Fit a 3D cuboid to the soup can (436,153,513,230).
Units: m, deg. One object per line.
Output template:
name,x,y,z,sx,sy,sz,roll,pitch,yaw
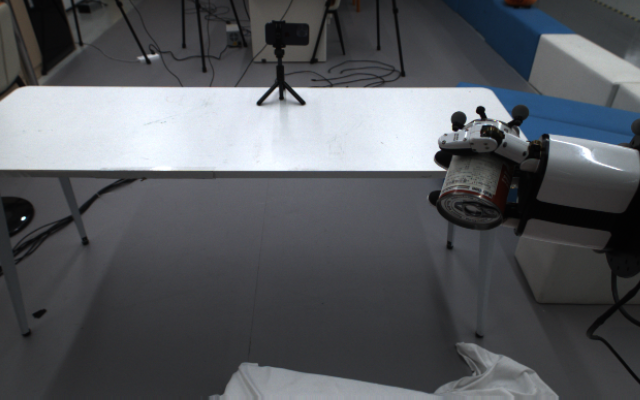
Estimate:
soup can,0.172,-0.032,0.523,0.067,0.067,0.101,15,63,18
